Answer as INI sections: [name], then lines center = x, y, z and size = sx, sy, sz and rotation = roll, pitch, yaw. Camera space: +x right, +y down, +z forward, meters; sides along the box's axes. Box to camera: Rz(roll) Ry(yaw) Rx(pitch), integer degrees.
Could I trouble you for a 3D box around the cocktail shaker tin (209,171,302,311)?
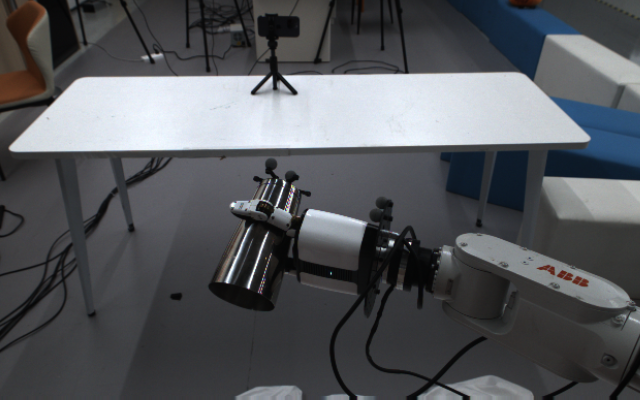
[cocktail shaker tin]
center = -0.080, 0.057, 0.669
size = 0.093, 0.093, 0.170
rotation = 11, 60, 12
